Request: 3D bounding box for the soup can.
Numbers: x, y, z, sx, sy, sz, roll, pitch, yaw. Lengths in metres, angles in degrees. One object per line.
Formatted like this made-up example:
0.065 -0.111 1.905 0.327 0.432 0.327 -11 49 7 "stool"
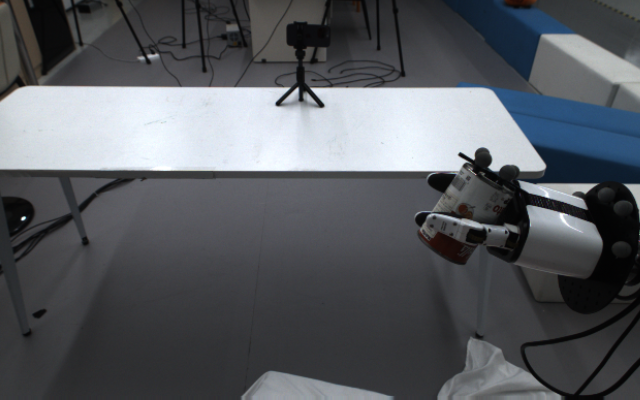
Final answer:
0.171 0.015 0.568 0.067 0.101 0.067 27 18 -9 "soup can"
